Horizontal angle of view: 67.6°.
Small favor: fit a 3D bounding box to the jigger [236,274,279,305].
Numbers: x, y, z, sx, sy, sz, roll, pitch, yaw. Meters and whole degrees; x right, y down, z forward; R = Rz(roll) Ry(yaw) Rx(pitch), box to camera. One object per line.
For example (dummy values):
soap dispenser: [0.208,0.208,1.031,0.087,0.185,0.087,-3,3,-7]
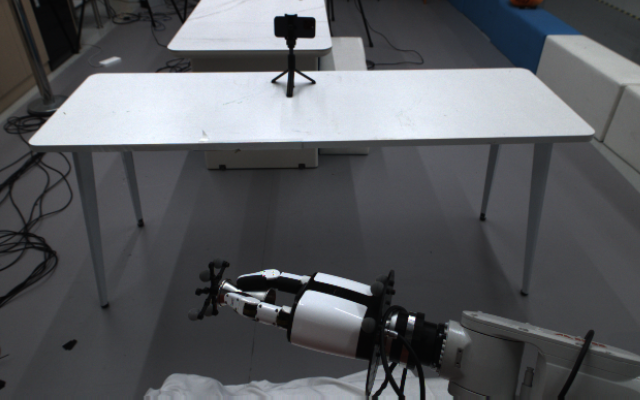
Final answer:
jigger: [-0.094,0.130,0.655,0.071,0.043,0.043,10,35,16]
